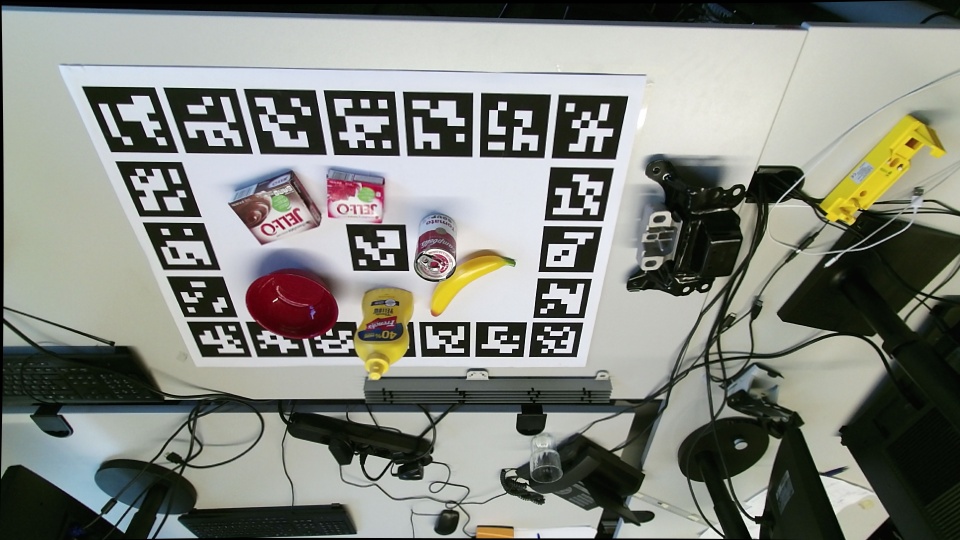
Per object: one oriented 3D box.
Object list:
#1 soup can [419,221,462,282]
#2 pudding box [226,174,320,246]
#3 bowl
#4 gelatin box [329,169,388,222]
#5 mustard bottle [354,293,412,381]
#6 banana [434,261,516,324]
[{"bbox_3d":[-0.064,-0.027,0.881,0.068,0.101,0.068,0,129,0],"label":"soup can"},{"bbox_3d":[-0.333,-0.094,0.870,0.114,0.038,0.090,-19,120,12],"label":"pudding box"},{"bbox_3d":[-0.346,0.058,0.982,0.162,0.055,0.162,-2,128,-2],"label":"bowl"},{"bbox_3d":[-0.196,-0.119,0.862,0.090,0.030,0.073,6,124,-7],"label":"gelatin box"},{"bbox_3d":[-0.173,0.122,0.934,0.096,0.190,0.058,1,130,-2],"label":"mustard bottle"},{"bbox_3d":[-0.027,0.038,0.983,0.074,0.038,0.197,31,121,-35],"label":"banana"}]
